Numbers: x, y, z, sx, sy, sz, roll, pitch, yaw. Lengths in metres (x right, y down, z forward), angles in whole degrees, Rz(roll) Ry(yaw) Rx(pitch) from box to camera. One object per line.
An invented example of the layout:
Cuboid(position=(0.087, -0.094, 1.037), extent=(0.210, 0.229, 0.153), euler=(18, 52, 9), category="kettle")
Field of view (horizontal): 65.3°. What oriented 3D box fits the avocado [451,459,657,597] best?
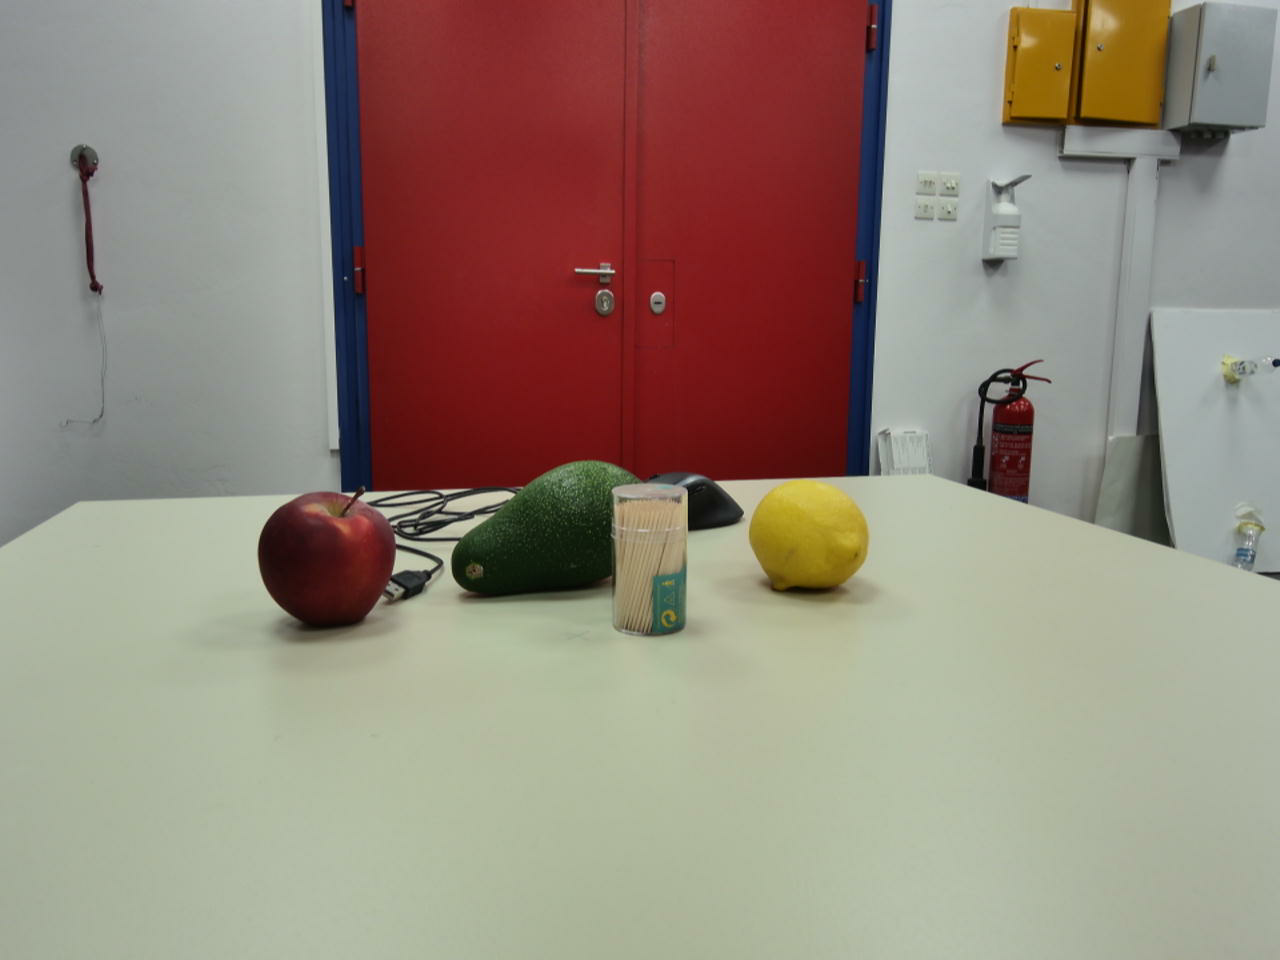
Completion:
Cuboid(position=(-0.050, 0.026, 0.603), extent=(0.123, 0.076, 0.074), euler=(-1, 8, -7), category="avocado")
